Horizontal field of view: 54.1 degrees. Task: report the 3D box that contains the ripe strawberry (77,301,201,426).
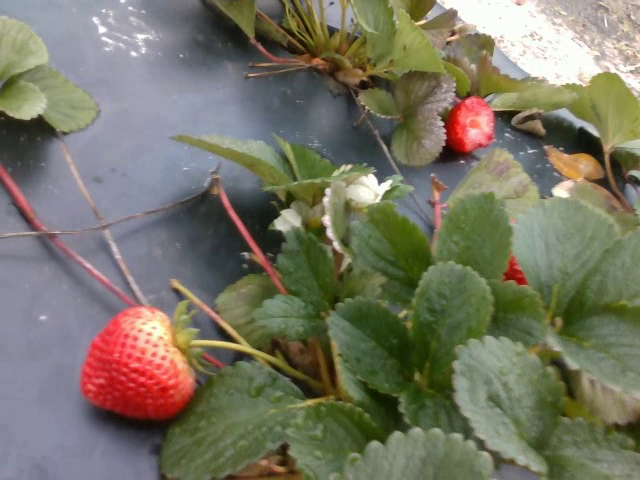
[{"bbox_3d":[-0.095,0.060,0.306,0.064,0.062,0.050,-35,-7,-6],"label":"ripe strawberry"}]
